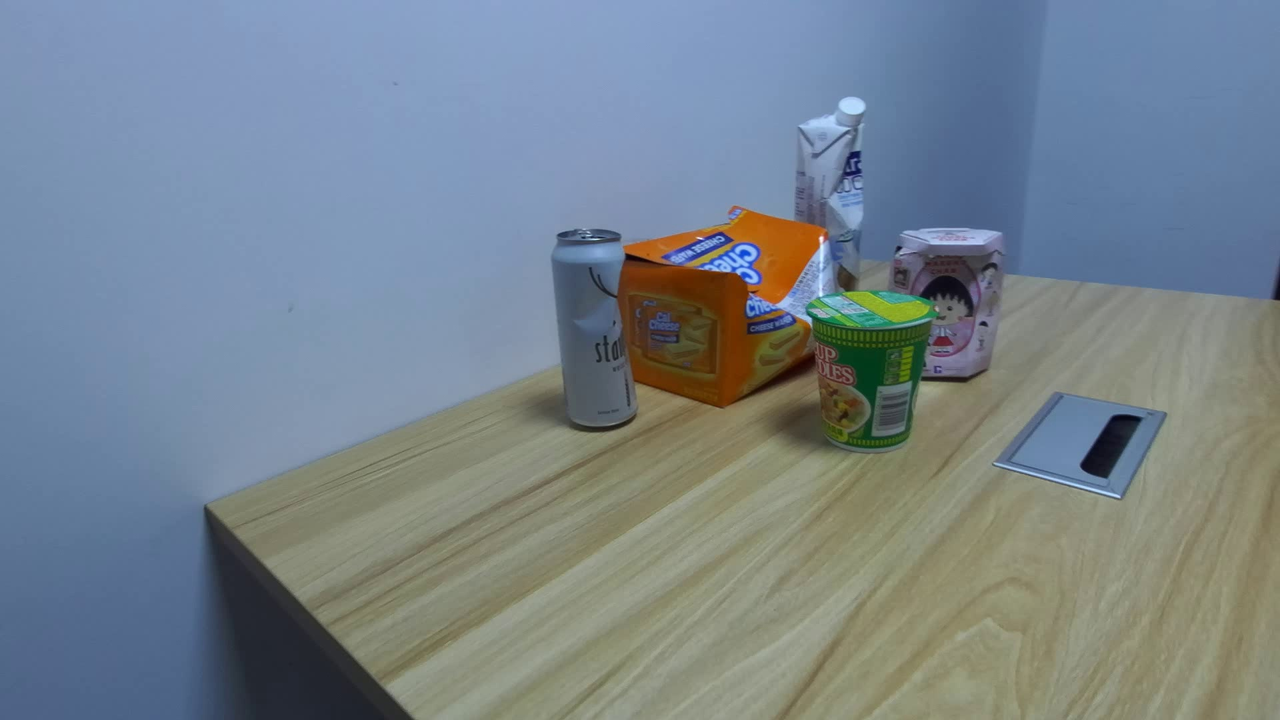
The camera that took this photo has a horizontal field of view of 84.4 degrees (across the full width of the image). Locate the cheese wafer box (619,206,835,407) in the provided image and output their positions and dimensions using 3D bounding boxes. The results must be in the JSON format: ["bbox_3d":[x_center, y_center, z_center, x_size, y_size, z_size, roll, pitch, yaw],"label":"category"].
[{"bbox_3d":[0.104,-0.065,0.728,0.190,0.145,0.220,14,27,41],"label":"cheese wafer box"}]

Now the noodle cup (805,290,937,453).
[{"bbox_3d":[0.180,0.010,0.557,0.097,0.110,0.097,-4,20,2],"label":"noodle cup"}]

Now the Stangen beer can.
[{"bbox_3d":[-0.036,-0.028,0.618,0.069,0.173,0.070,14,26,41],"label":"Stangen beer can"}]

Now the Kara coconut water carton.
[{"bbox_3d":[0.222,-0.173,0.836,0.078,0.255,0.083,16,28,43],"label":"Kara coconut water carton"}]

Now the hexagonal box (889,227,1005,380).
[{"bbox_3d":[0.292,-0.056,0.685,0.090,0.134,0.090,-15,22,-33],"label":"hexagonal box"}]
